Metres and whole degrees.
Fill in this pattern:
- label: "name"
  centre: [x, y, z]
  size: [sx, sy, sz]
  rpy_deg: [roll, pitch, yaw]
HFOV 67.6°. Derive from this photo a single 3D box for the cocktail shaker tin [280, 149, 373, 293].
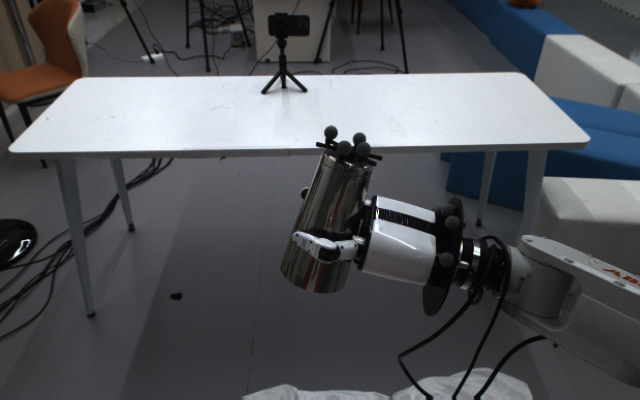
- label: "cocktail shaker tin"
  centre: [0.014, 0.024, 0.631]
  size: [0.093, 0.170, 0.093]
  rpy_deg: [15, 20, -5]
